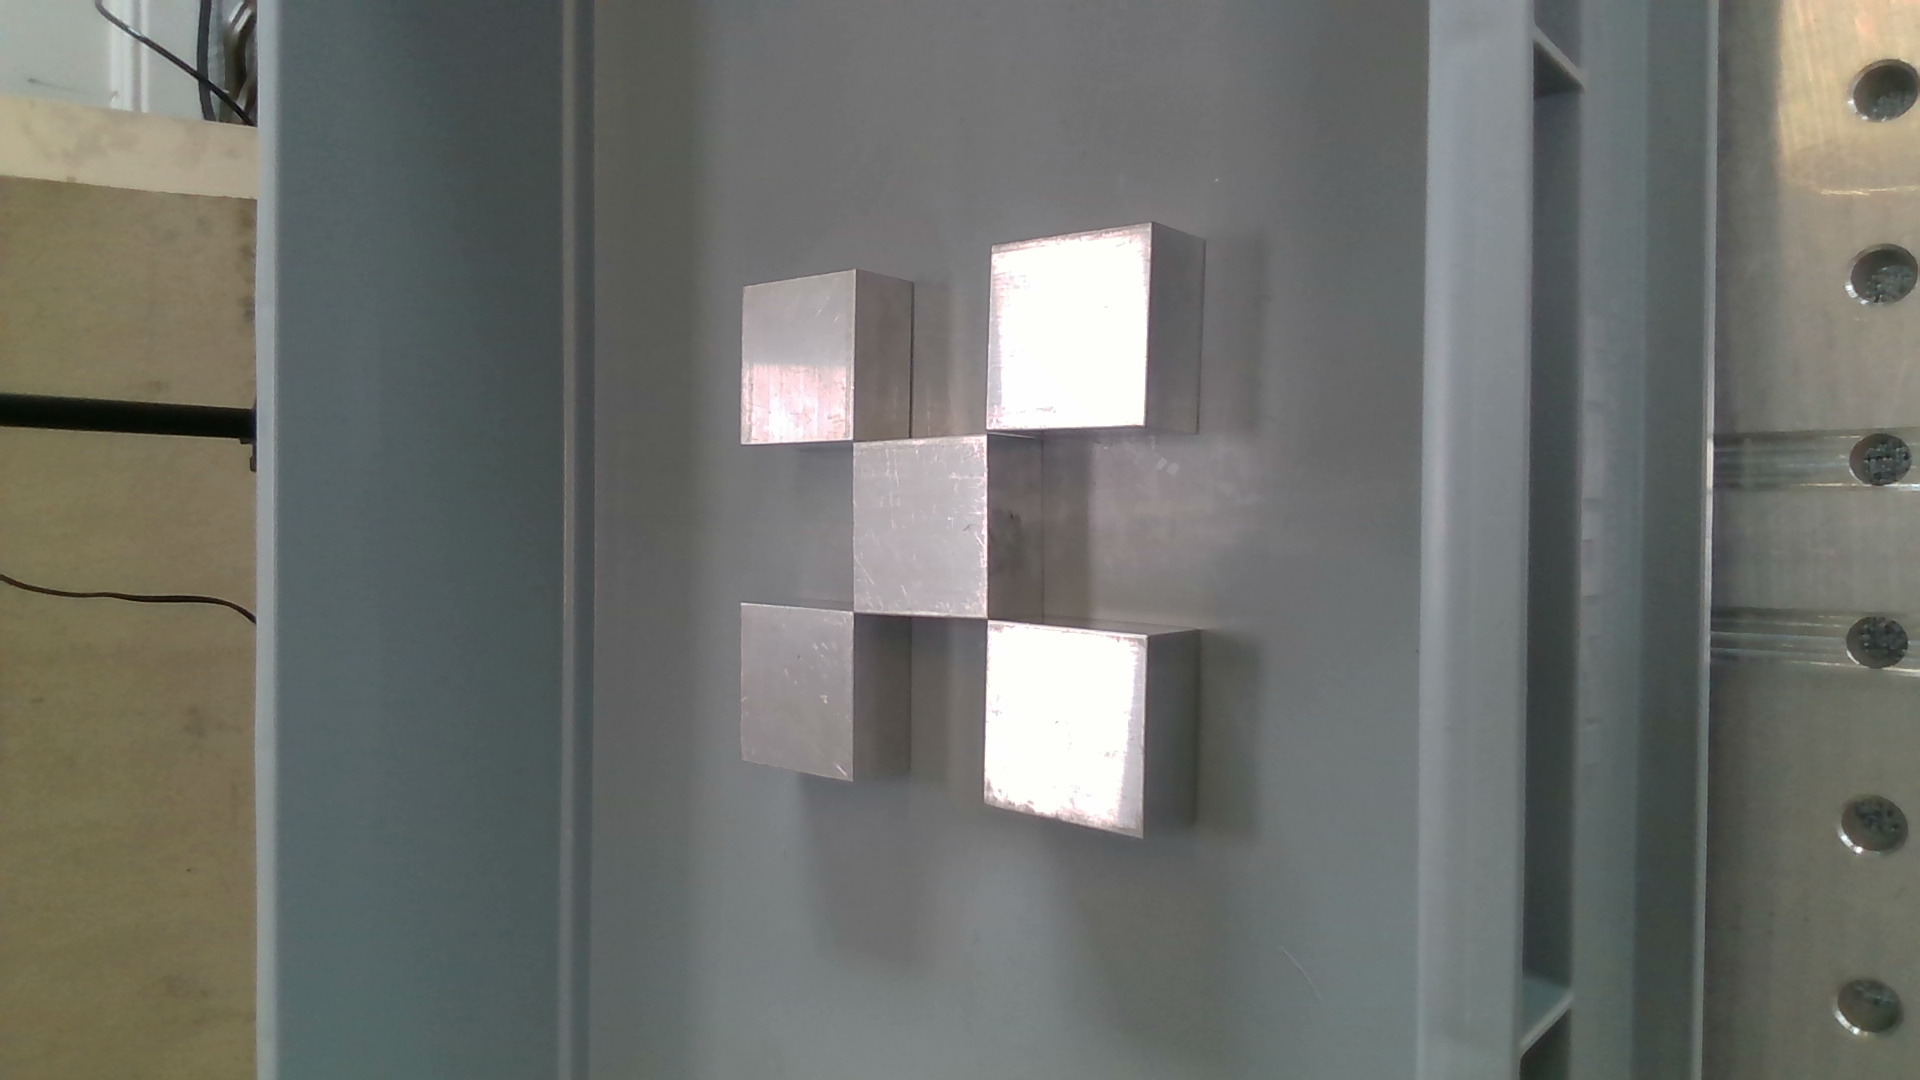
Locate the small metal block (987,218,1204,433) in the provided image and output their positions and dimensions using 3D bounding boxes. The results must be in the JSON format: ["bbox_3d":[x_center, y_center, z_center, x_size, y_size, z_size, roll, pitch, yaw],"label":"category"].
[{"bbox_3d":[0.035,-0.054,0.359,0.050,0.025,0.050,2,92,40],"label":"small metal block"}]

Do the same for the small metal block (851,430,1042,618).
[{"bbox_3d":[-0.004,-0.004,0.392,0.050,0.025,0.050,1,91,40],"label":"small metal block"}]

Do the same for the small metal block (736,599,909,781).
[{"bbox_3d":[-0.043,0.045,0.425,0.050,0.025,0.050,2,91,40],"label":"small metal block"}]

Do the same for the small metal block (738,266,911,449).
[{"bbox_3d":[-0.042,-0.054,0.424,0.050,0.025,0.050,1,91,40],"label":"small metal block"}]

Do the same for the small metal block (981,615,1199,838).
[{"bbox_3d":[0.033,0.047,0.360,0.050,0.025,0.050,3,92,40],"label":"small metal block"}]
